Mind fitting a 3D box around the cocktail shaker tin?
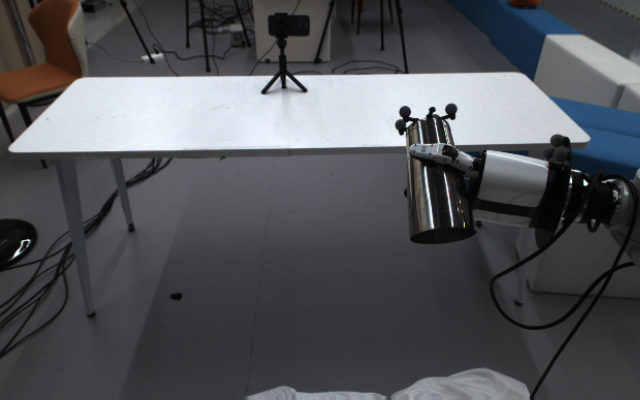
[{"bbox_3d":[0.168,-0.030,0.704,0.093,0.093,0.170,-2,71,-6],"label":"cocktail shaker tin"}]
